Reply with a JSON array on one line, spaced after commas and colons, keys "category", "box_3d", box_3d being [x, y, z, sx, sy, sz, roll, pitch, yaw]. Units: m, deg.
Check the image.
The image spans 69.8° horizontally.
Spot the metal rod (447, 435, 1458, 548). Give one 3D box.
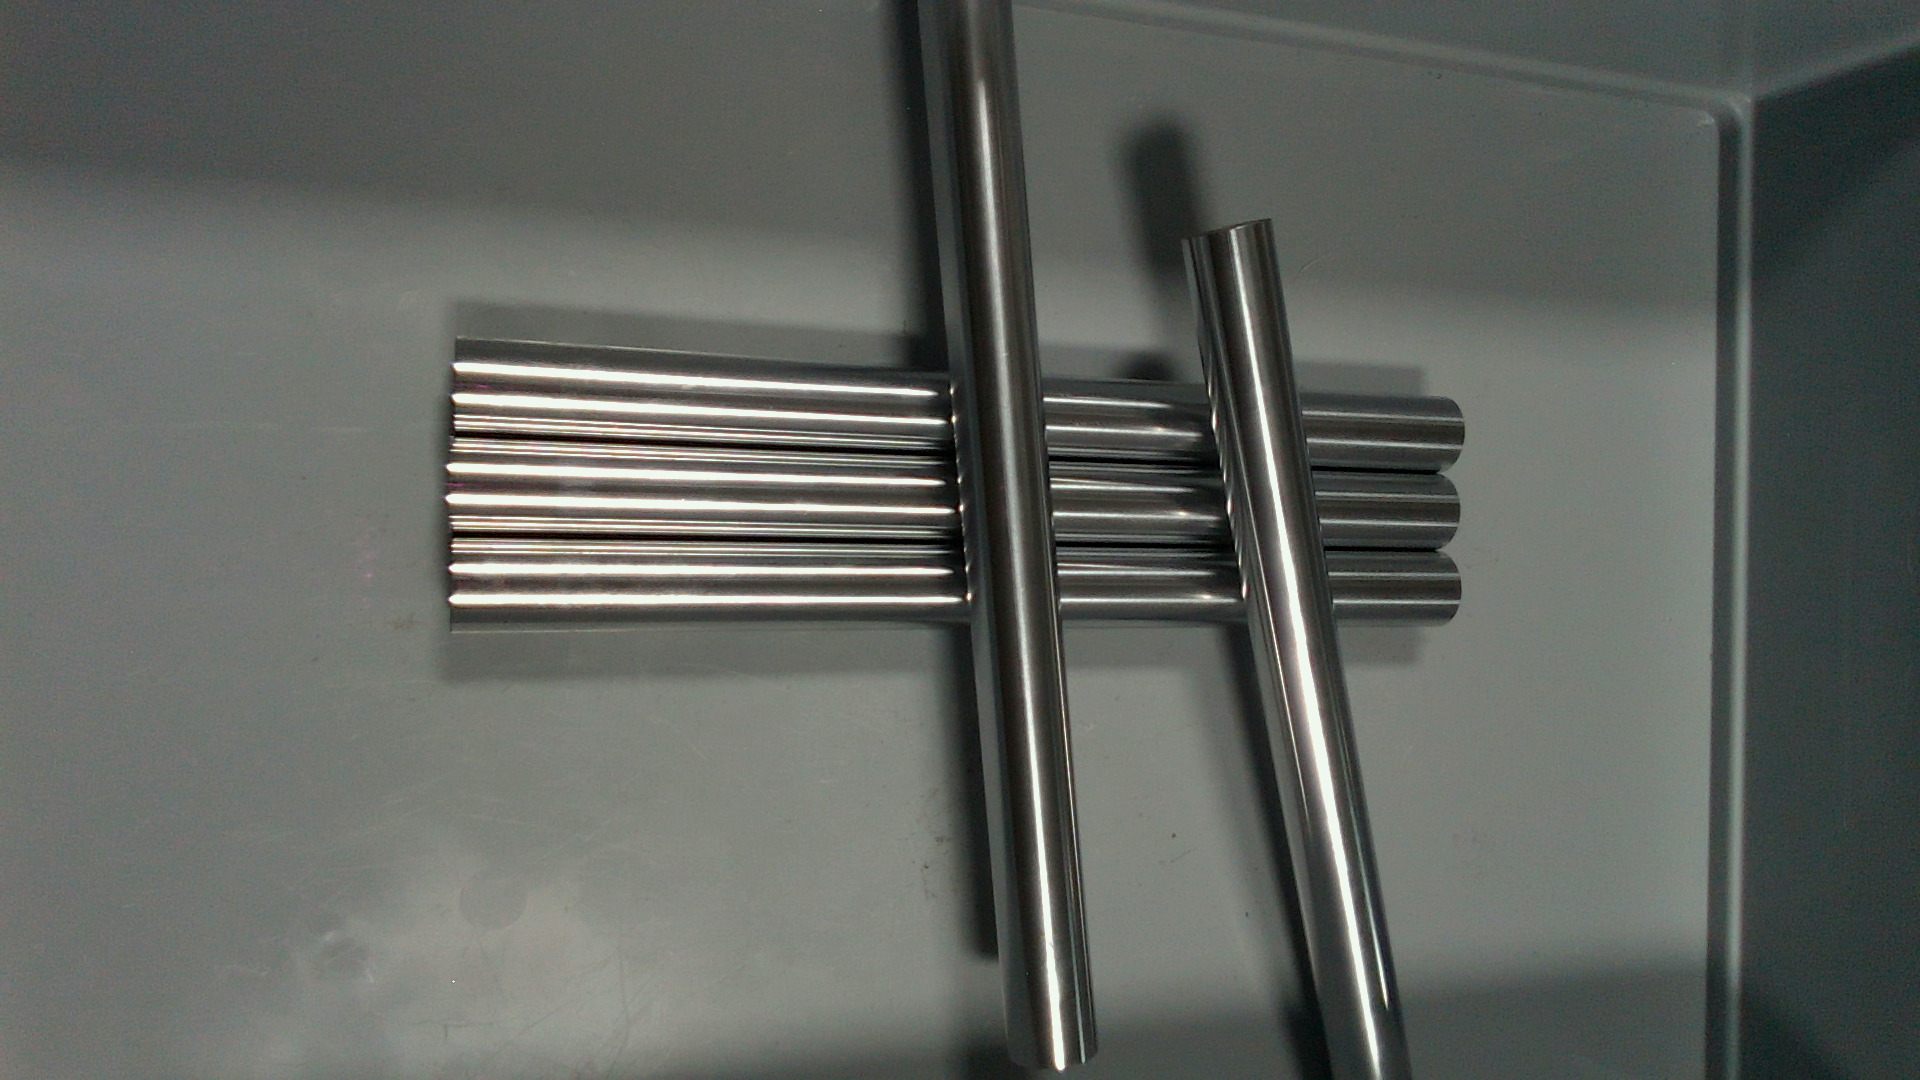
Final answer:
[{"category": "metal rod", "box_3d": [0.013, -0.012, 0.397, 0.301, 0.025, 0.025, 1, 90, -20]}]

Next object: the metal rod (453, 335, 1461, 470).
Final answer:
[{"category": "metal rod", "box_3d": [0.014, -0.037, 0.398, 0.301, 0.025, 0.025, 1, 90, -20]}]

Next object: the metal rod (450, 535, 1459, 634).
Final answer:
[{"category": "metal rod", "box_3d": [0.013, 0.013, 0.397, 0.301, 0.025, 0.025, 1, 90, -20]}]

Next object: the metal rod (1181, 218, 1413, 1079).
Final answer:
[{"category": "metal rod", "box_3d": [0.105, 0.057, 0.410, 0.025, 0.025, 0.300, -17, 103, -19]}]

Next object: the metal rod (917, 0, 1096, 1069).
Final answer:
[{"category": "metal rod", "box_3d": [0.012, -0.010, 0.370, 0.025, 0.025, 0.300, -5, 92, -20]}]
